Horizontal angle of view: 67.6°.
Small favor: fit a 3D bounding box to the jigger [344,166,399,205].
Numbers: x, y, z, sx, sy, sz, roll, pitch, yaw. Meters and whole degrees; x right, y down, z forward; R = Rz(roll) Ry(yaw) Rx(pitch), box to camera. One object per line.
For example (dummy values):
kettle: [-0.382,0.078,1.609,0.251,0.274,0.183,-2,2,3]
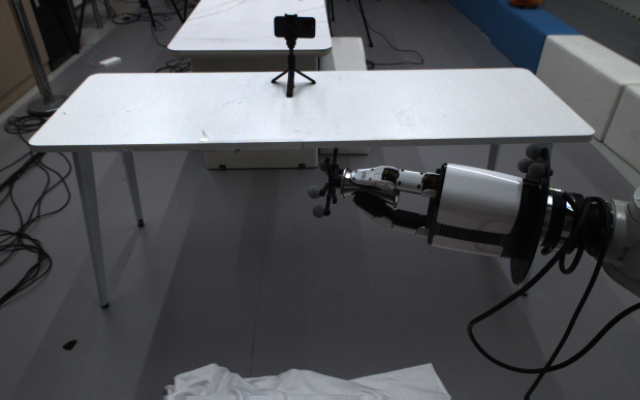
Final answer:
jigger: [0.070,-0.021,0.598,0.071,0.043,0.043,8,35,16]
